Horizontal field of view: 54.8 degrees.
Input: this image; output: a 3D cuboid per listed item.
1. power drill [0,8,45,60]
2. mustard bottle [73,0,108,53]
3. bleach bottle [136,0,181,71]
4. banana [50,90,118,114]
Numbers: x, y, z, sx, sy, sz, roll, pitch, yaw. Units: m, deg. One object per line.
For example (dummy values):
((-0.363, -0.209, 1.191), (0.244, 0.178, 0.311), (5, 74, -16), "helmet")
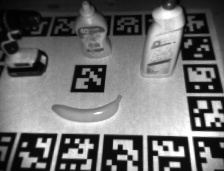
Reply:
((-0.260, -0.150, 0.607), (0.184, 0.188, 0.057), (-7, 61, 6), "power drill")
((-0.067, -0.176, 0.640), (0.096, 0.192, 0.058), (-7, 61, 1), "mustard bottle")
((0.116, -0.134, 0.565), (0.102, 0.252, 0.068), (7, 63, 10), "bleach bottle")
((-0.076, 0.043, 0.598), (0.197, 0.039, 0.074), (-6, 63, 5), "banana")
